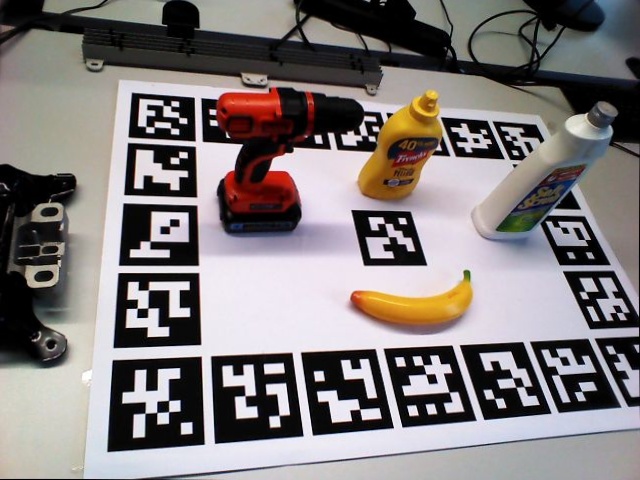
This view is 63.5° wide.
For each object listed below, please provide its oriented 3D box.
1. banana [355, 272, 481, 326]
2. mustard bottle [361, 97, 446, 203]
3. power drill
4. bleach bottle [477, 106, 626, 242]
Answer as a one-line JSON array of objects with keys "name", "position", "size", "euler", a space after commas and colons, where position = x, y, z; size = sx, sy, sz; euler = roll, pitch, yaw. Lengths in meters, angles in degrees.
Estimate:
[{"name": "banana", "position": [0.144, 0.082, 0.702], "size": [0.197, 0.039, 0.074], "euler": [-5, 60, -15]}, {"name": "mustard bottle", "position": [0.135, -0.132, 0.763], "size": [0.096, 0.193, 0.058], "euler": [-5, 59, -21]}, {"name": "power drill", "position": [-0.034, -0.114, 0.664], "size": [0.184, 0.188, 0.057], "euler": [-6, 59, -15]}, {"name": "bleach bottle", "position": [0.335, -0.092, 0.753], "size": [0.102, 0.252, 0.067], "euler": [8, 55, -11]}]
